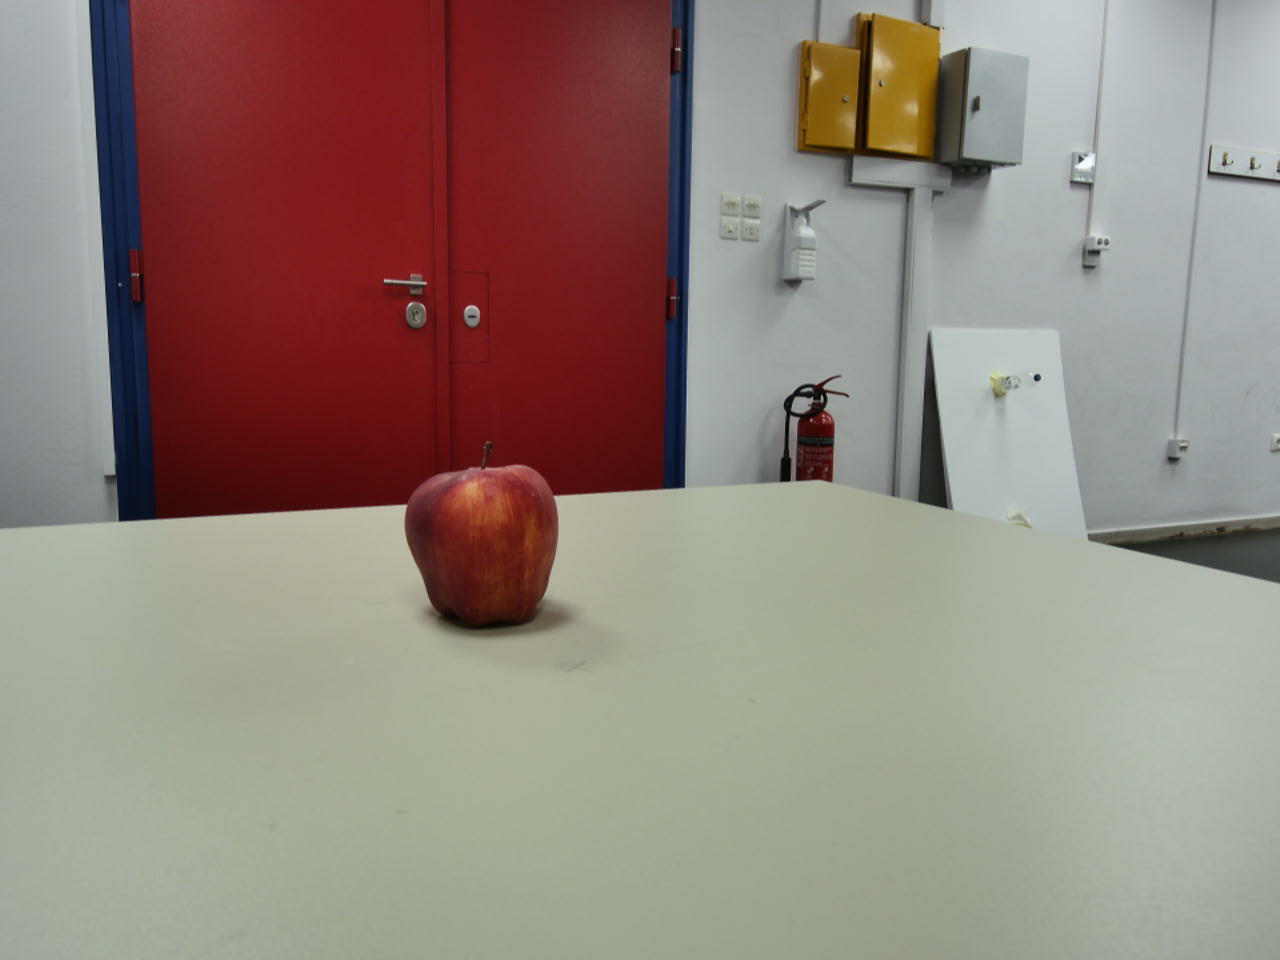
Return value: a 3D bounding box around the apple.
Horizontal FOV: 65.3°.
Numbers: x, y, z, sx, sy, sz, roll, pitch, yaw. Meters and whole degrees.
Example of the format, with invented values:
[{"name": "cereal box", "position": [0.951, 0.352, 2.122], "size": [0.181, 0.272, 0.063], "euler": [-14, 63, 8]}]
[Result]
[{"name": "apple", "position": [-0.081, 0.027, 0.512], "size": [0.083, 0.090, 0.083], "euler": [1, 6, 0]}]
